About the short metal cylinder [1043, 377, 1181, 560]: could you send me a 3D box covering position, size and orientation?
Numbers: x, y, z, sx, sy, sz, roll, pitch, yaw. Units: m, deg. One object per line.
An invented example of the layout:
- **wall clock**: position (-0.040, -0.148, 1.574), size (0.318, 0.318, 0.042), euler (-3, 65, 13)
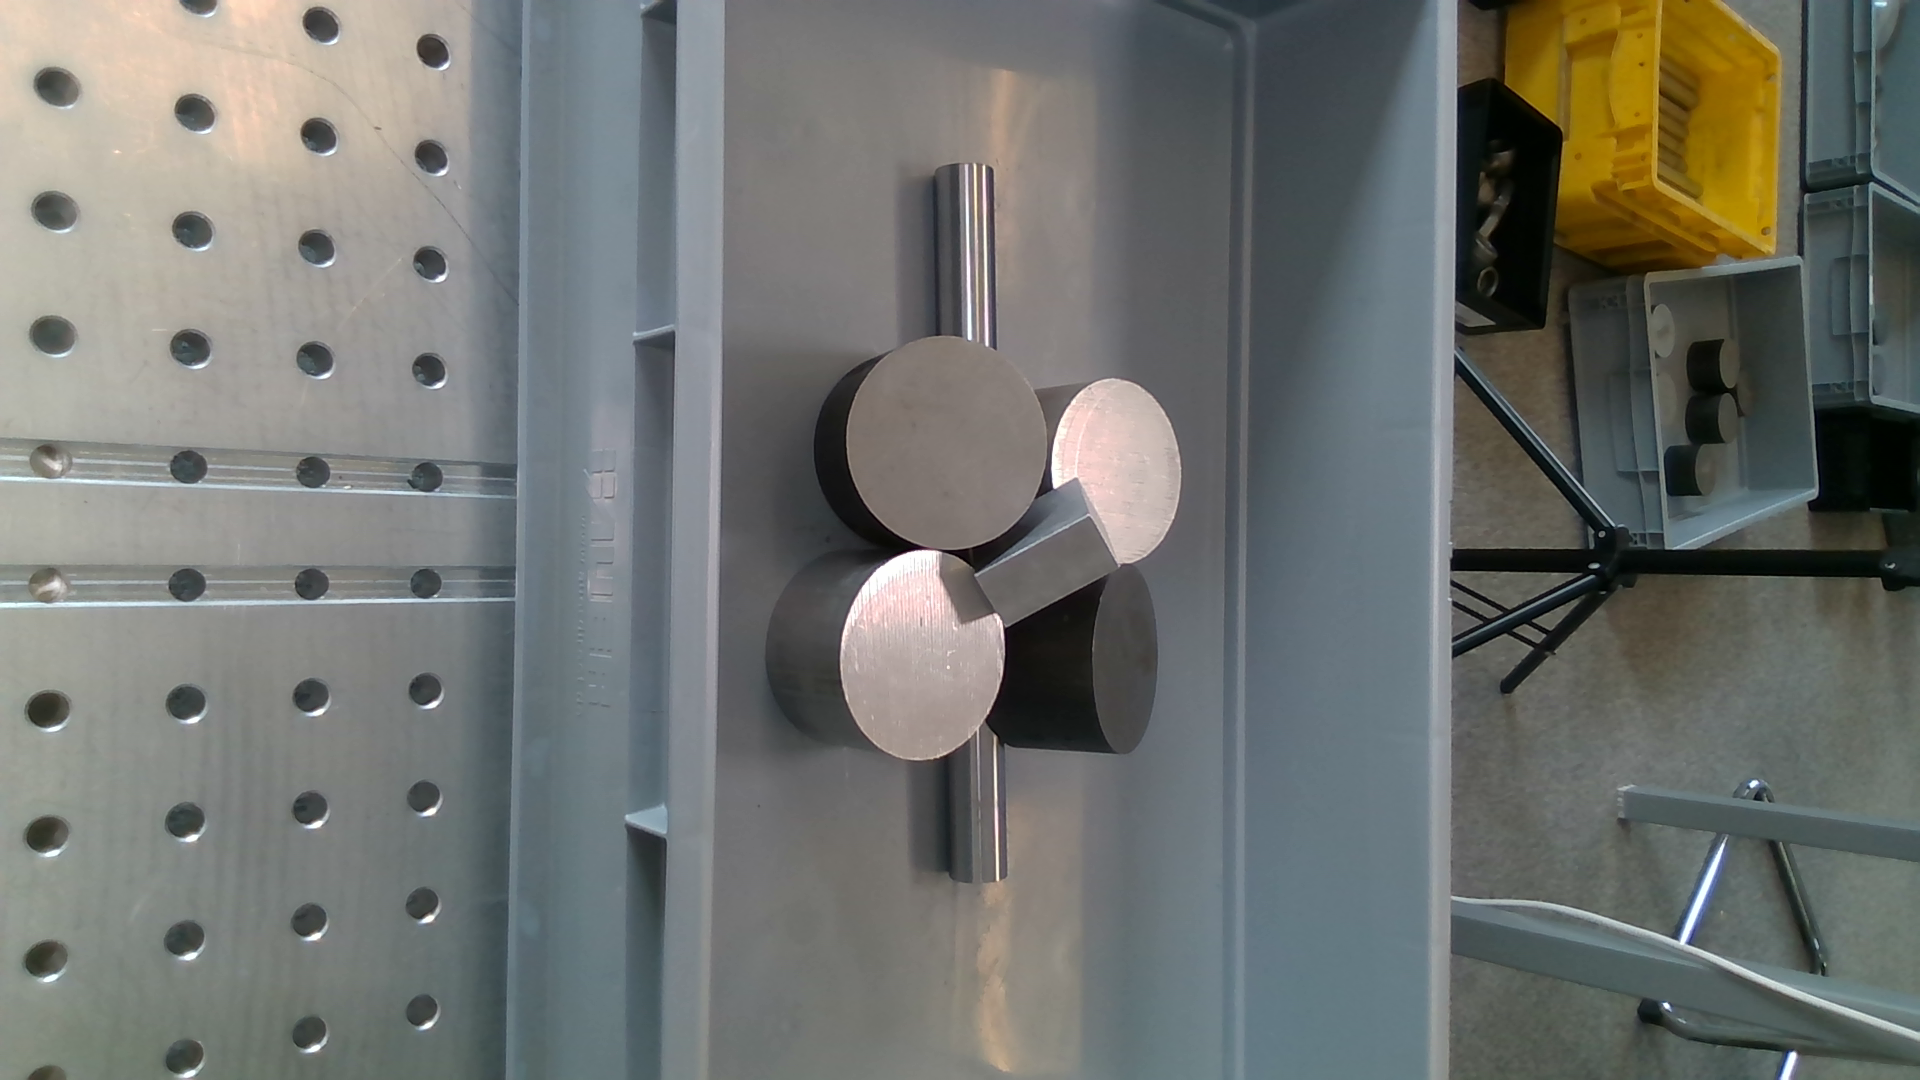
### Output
- **short metal cylinder**: position (0.052, -0.030, 0.610), size (0.080, 0.050, 0.080), euler (0, 90, -40)

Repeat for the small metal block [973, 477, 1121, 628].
- **small metal block**: position (0.033, 0.004, 0.547), size (0.050, 0.050, 0.025), euler (-29, 107, 8)

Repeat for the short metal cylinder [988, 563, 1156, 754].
- **short metal cylinder**: position (0.048, 0.050, 0.589), size (0.080, 0.050, 0.080), euler (2, 88, -63)

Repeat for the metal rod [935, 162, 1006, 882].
- **metal rod**: position (0.005, -0.007, 0.586), size (0.025, 0.025, 0.300), euler (-2, 92, -40)

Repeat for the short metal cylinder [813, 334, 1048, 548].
- **short metal cylinder**: position (-0.012, -0.037, 0.539), size (0.080, 0.050, 0.080), euler (0, 91, -20)

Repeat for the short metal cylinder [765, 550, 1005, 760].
- **short metal cylinder**: position (-0.029, 0.043, 0.541), size (0.080, 0.050, 0.080), euler (0, 90, -40)
